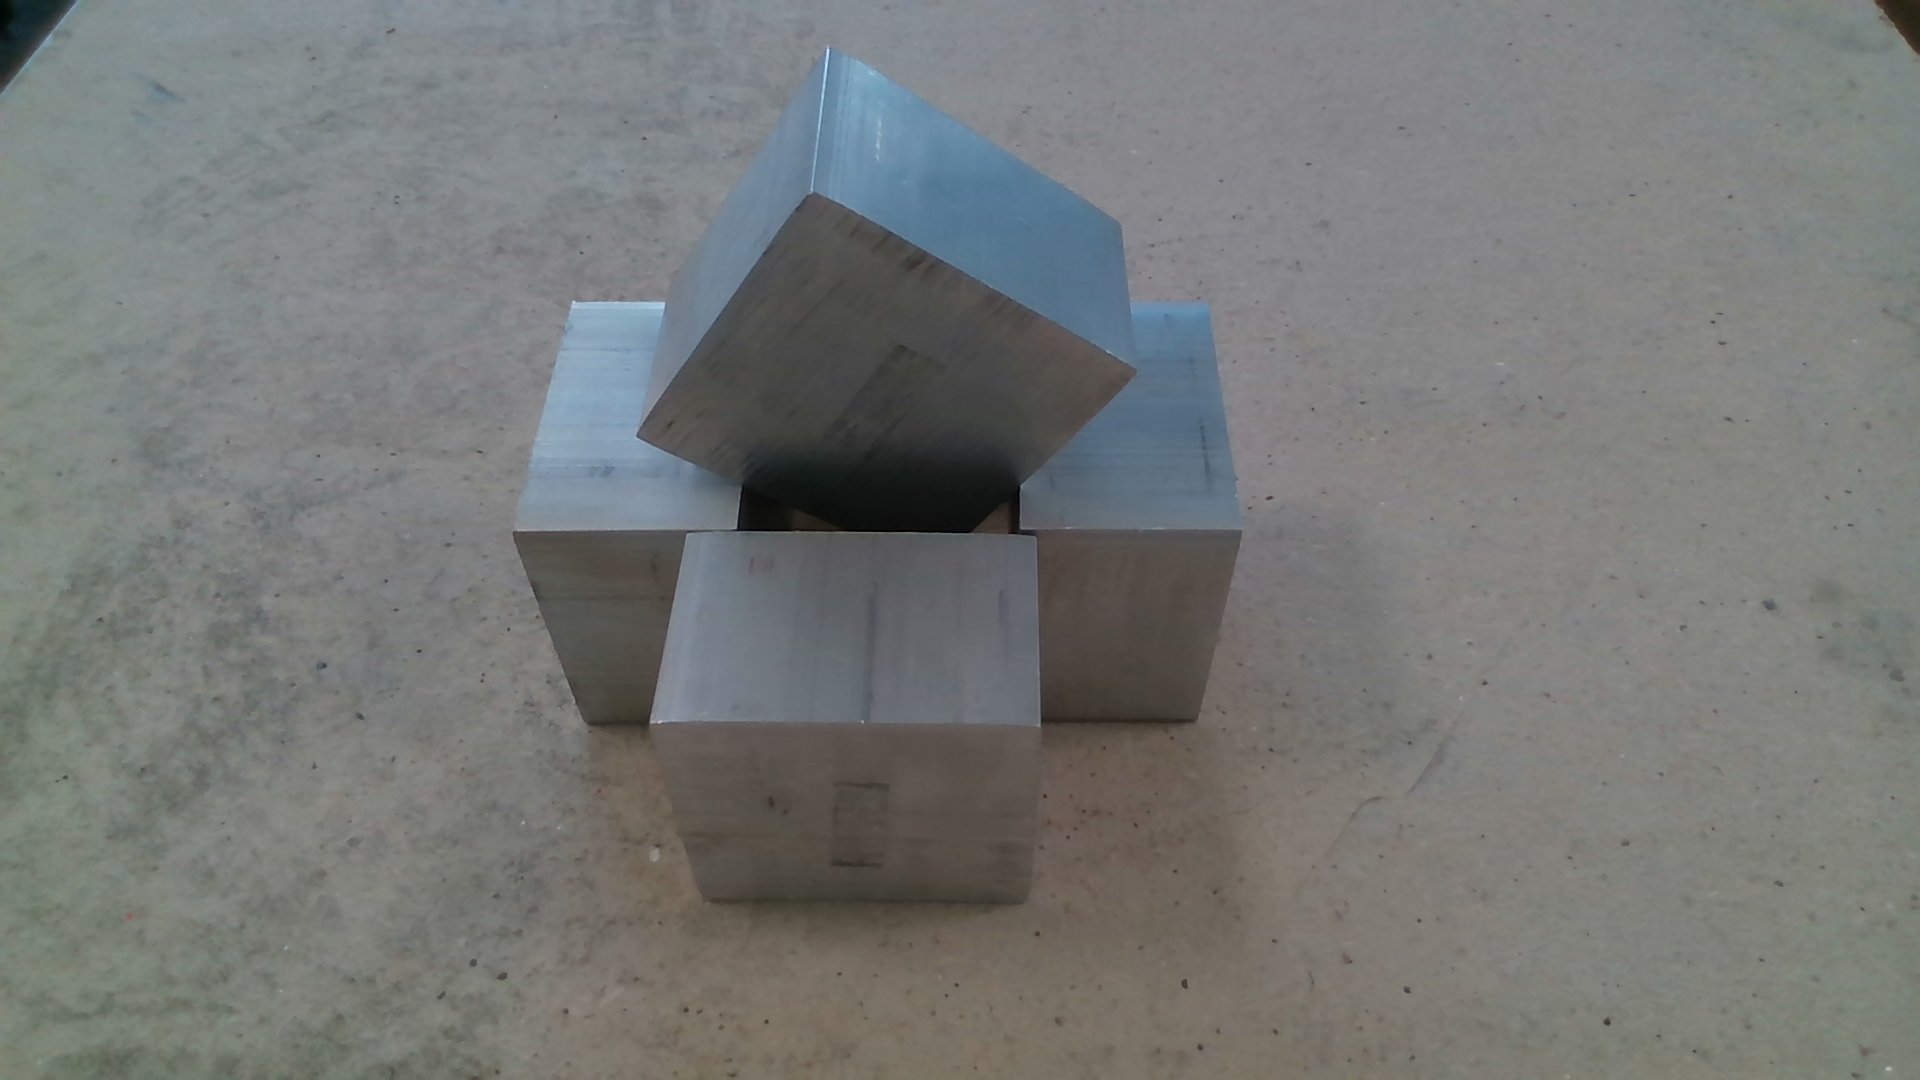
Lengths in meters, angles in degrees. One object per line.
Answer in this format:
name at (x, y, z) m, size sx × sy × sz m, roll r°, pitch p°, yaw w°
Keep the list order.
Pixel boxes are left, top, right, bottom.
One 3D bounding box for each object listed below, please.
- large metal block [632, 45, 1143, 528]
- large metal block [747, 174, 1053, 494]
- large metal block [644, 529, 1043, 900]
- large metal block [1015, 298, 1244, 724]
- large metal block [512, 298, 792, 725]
large metal block at (-0.017, -0.048, 0.313) m, size 0.080 × 0.080 × 0.050 m, roll 24°, pitch 45°, yaw -25°
large metal block at (-0.016, -0.059, 0.406) m, size 0.080 × 0.080 × 0.050 m, roll 0°, pitch 50°, yaw 0°
large metal block at (-0.023, 0.043, 0.322) m, size 0.080 × 0.080 × 0.050 m, roll 1°, pitch 50°, yaw 1°
large metal block at (0.039, -0.007, 0.365) m, size 0.050 × 0.080 × 0.080 m, roll 0°, pitch 50°, yaw 1°
large metal block at (-0.075, -0.007, 0.364) m, size 0.050 × 0.080 × 0.080 m, roll 0°, pitch 50°, yaw 0°
